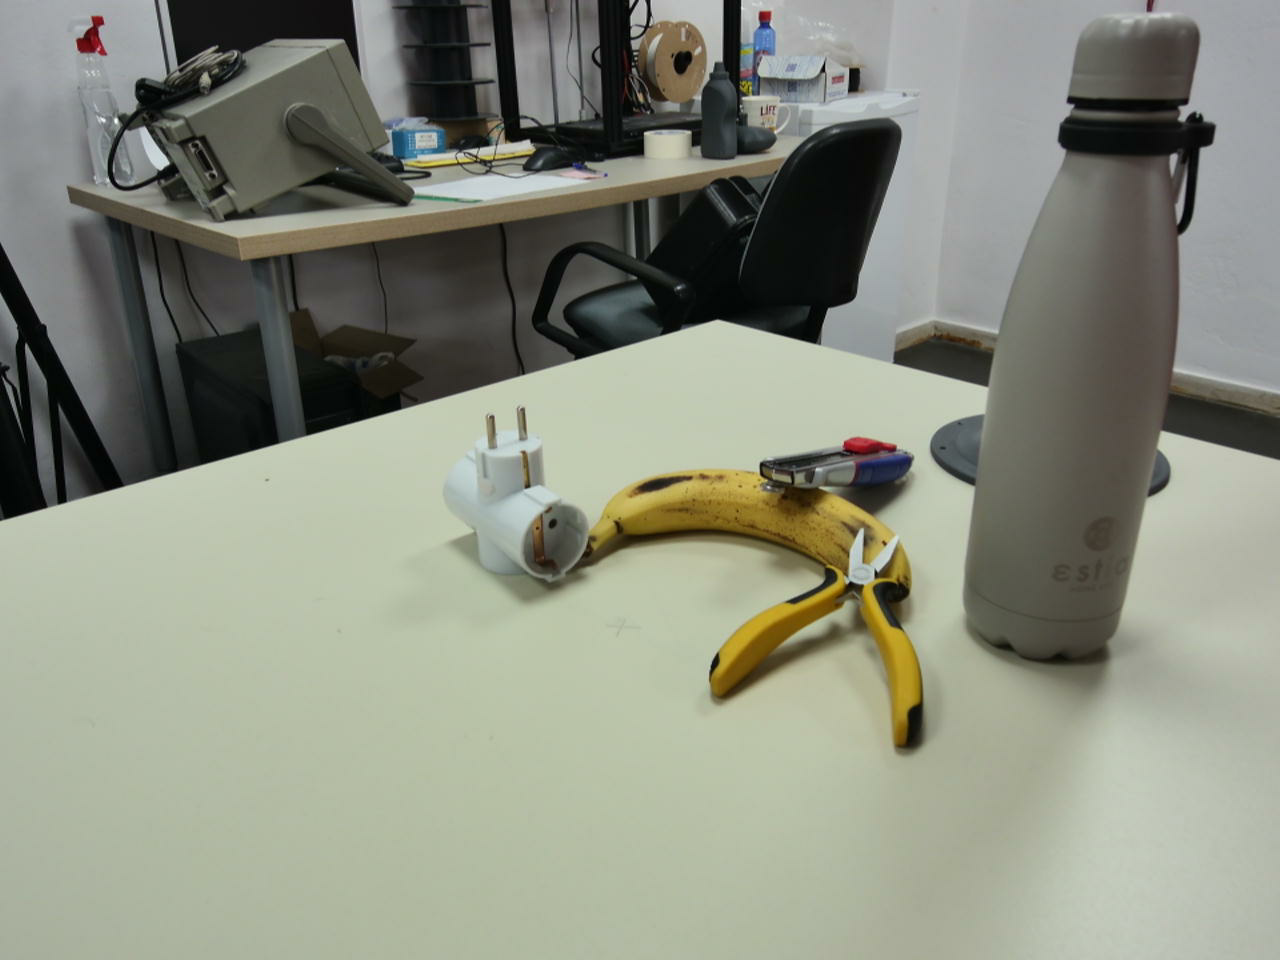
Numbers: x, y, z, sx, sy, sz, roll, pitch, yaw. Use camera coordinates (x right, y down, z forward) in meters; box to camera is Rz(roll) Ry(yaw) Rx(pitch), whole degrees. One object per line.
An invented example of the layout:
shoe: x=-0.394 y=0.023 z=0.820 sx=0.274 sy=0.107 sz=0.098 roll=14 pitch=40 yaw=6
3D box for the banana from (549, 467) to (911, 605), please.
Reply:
banana: x=0.060 y=0.027 z=0.558 sx=0.186 sy=0.038 sz=0.097 roll=8 pitch=25 yaw=19
